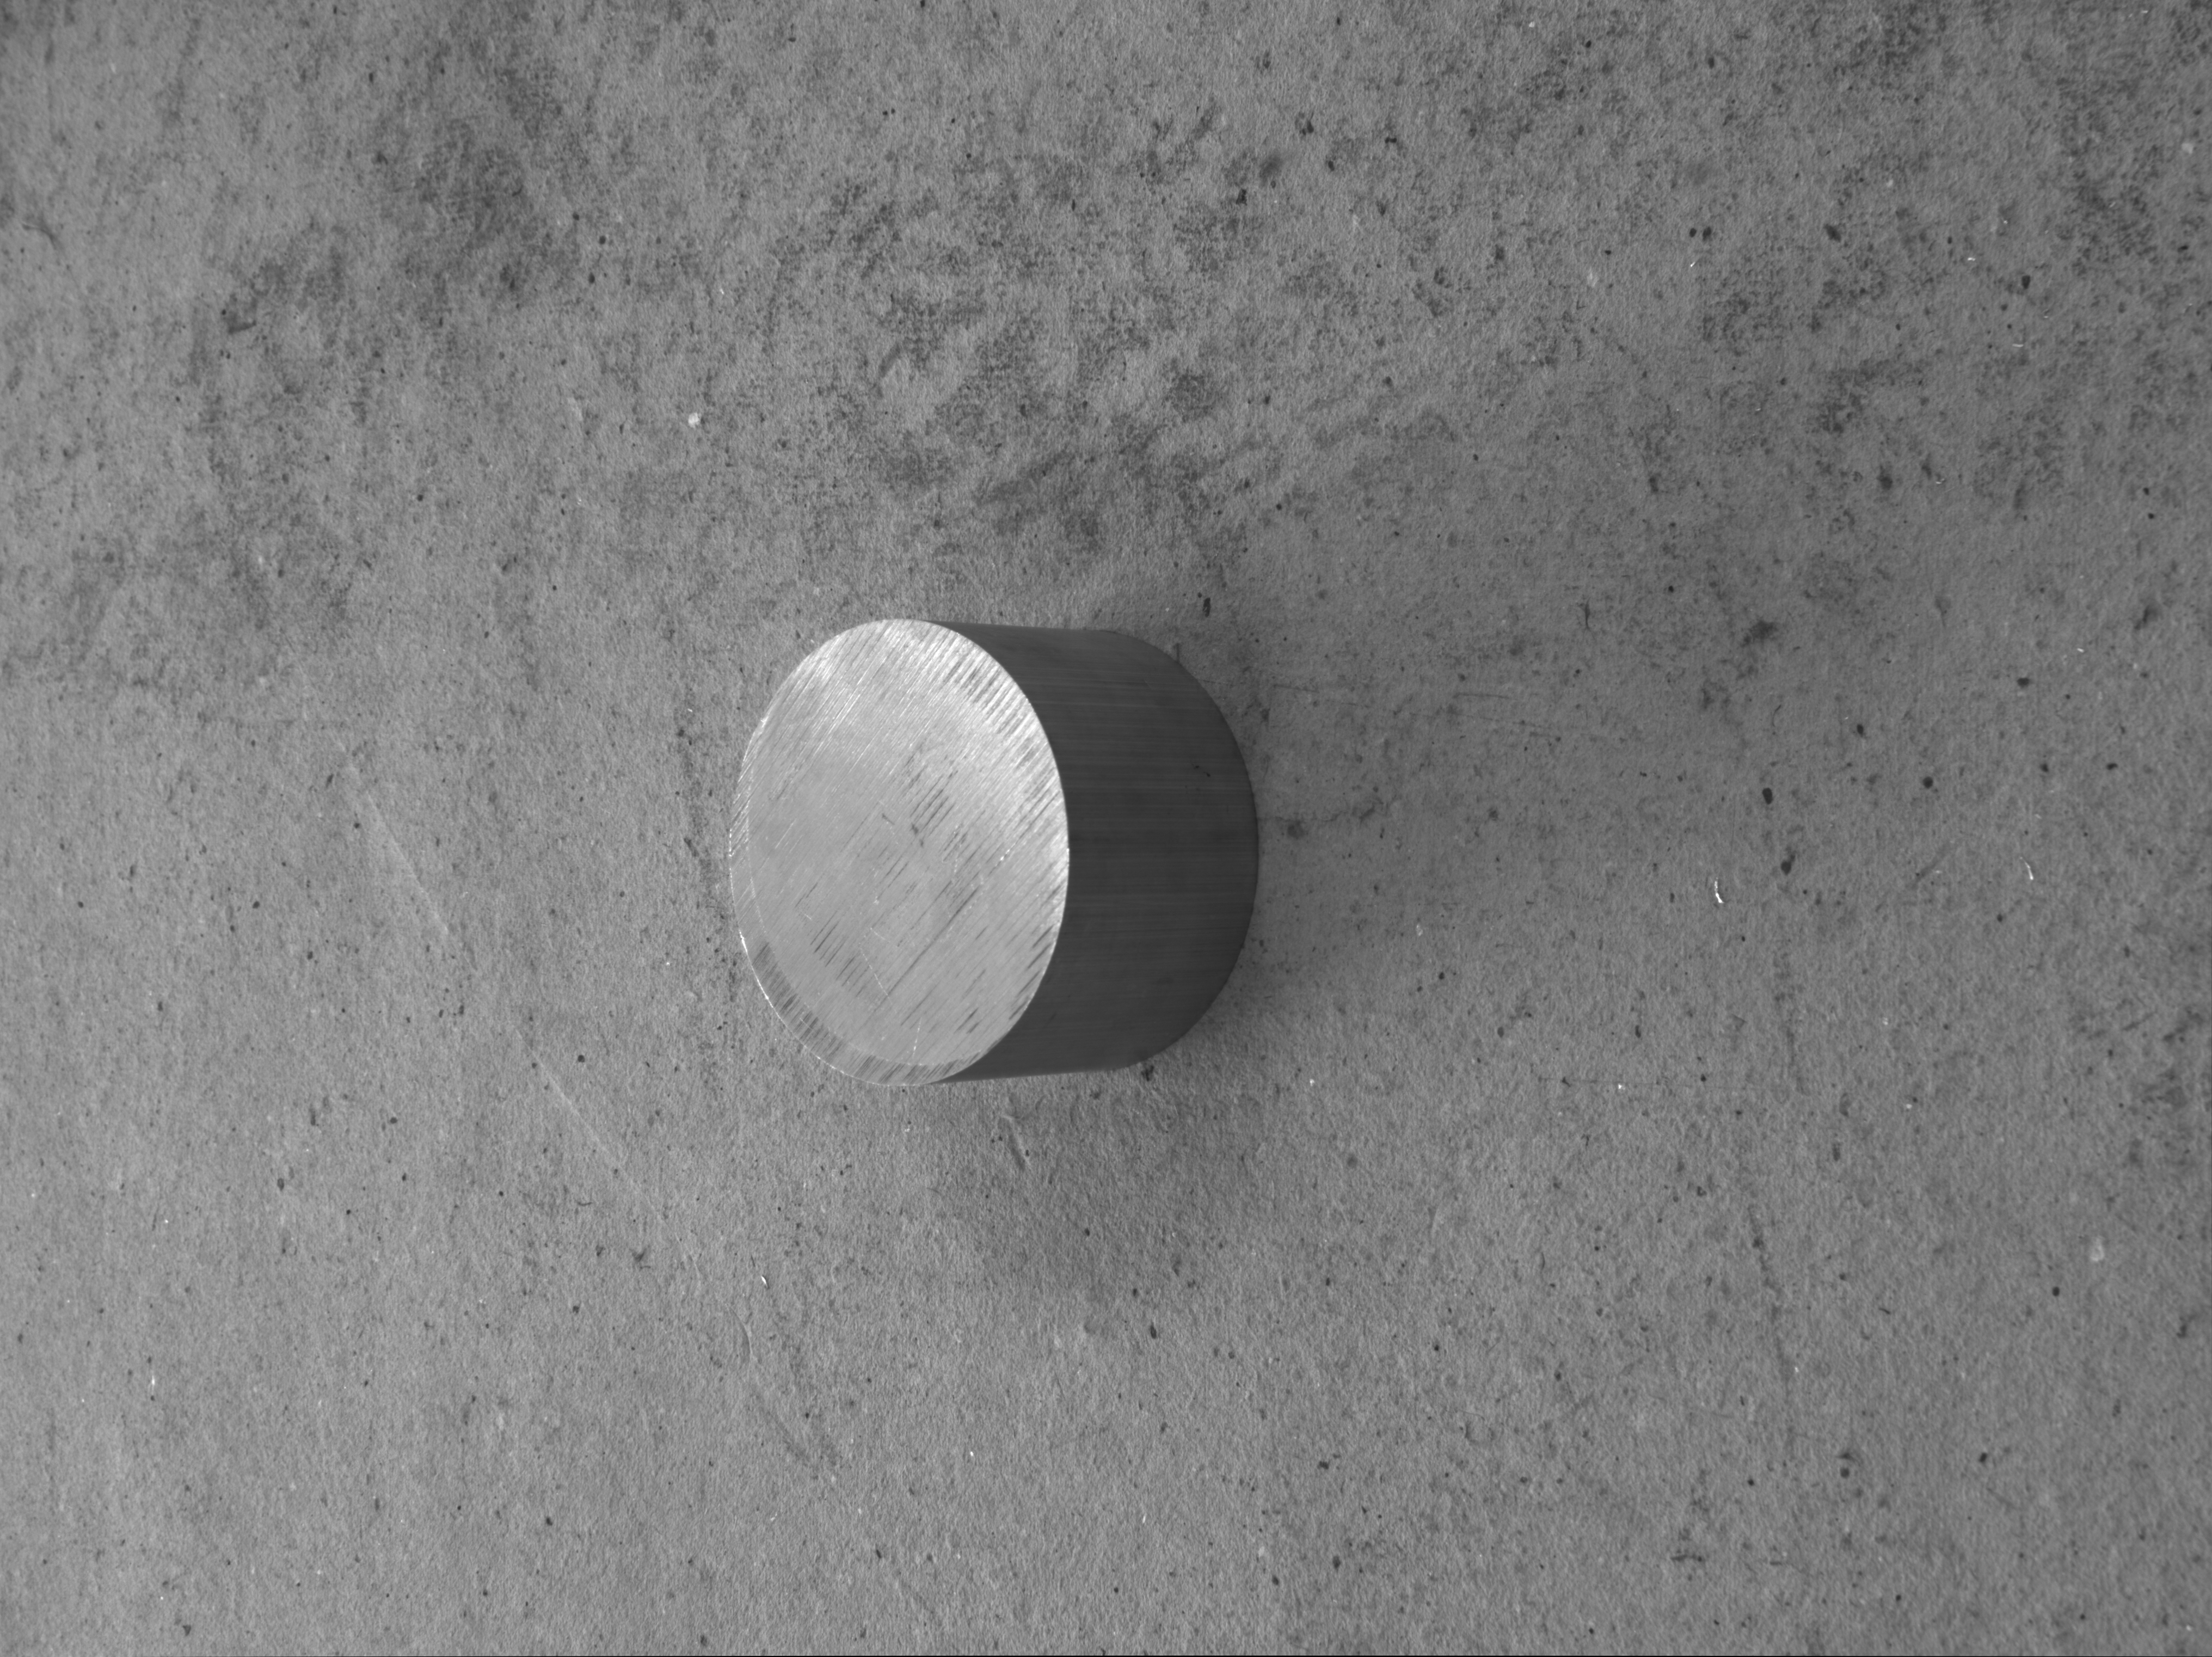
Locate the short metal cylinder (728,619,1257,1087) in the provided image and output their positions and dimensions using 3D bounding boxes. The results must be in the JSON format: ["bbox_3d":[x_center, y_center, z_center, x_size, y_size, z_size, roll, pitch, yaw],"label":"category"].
[{"bbox_3d":[-0.020,0.004,0.647,0.080,0.050,0.080,0,90,39],"label":"short metal cylinder"}]
